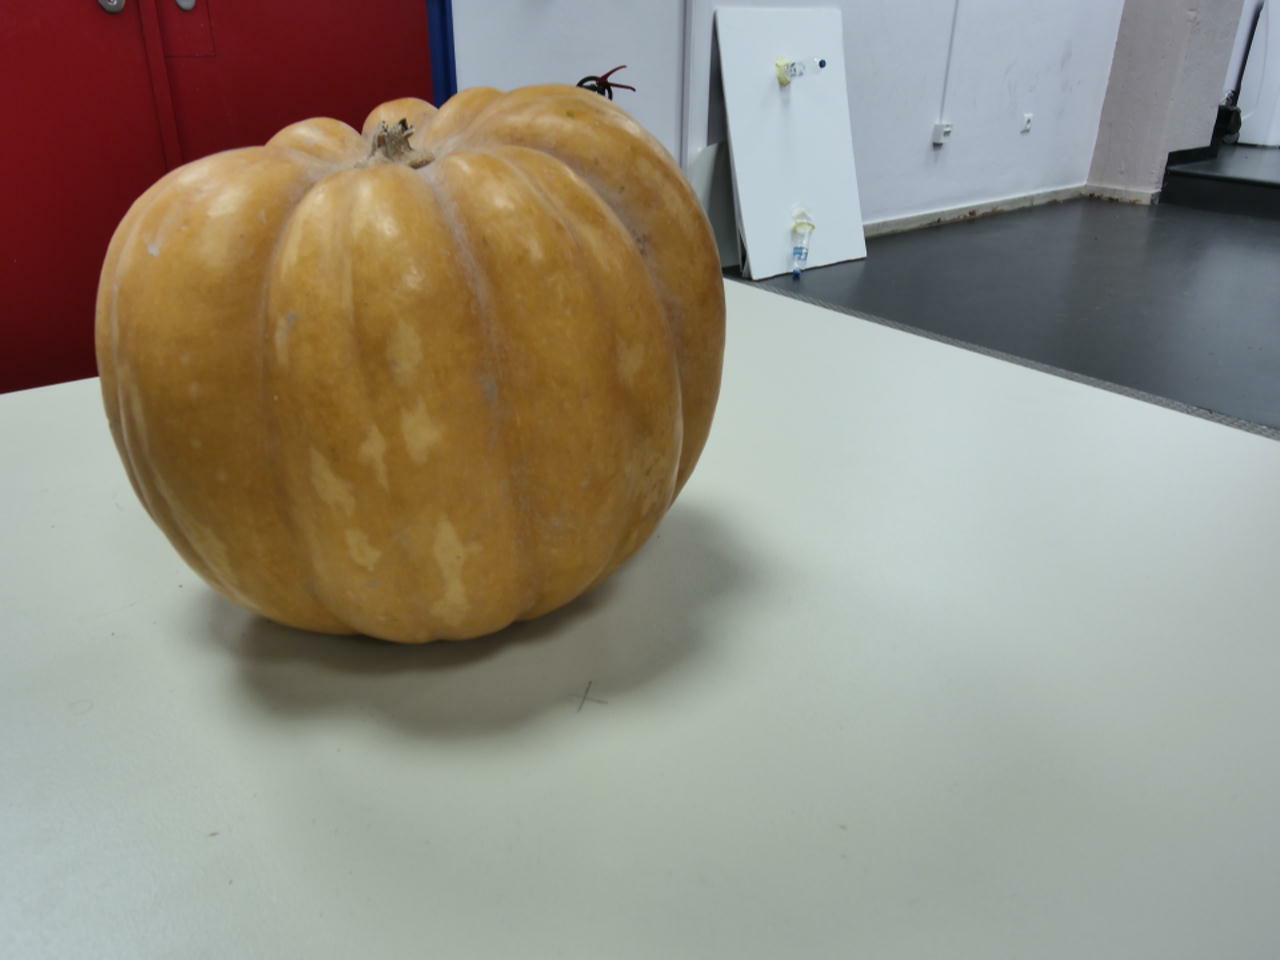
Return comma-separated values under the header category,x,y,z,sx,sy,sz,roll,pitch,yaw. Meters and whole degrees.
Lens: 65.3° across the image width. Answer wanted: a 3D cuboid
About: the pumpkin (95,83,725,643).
category,x,y,z,sx,sy,sz,roll,pitch,yaw
pumpkin,-0.078,-0.046,0.383,0.230,0.194,0.230,0,24,0
